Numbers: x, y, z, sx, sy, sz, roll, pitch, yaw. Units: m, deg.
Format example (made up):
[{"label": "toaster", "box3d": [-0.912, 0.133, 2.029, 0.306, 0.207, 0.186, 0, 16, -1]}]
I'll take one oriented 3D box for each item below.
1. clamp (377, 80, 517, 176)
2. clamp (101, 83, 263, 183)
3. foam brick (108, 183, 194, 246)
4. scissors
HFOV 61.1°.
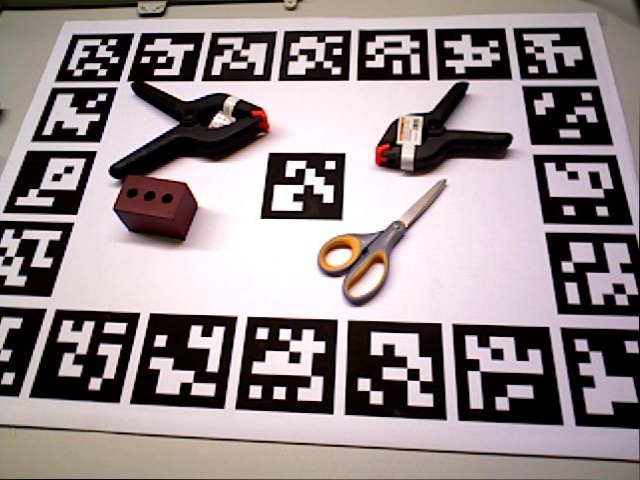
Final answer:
[{"label": "clamp", "box3d": [0.147, -0.128, 0.683, 0.164, 0.037, 0.121, -24, 71, -6]}, {"label": "clamp", "box3d": [-0.176, -0.147, 0.717, 0.202, 0.037, 0.163, -2, 60, 3]}, {"label": "foam brick", "box3d": [-0.202, -0.030, 0.654, 0.078, 0.052, 0.052, 7, 64, 13]}, {"label": "scissors", "box3d": [0.076, 0.000, 0.628, 0.087, 0.016, 0.200, 42, 72, 14]}]
